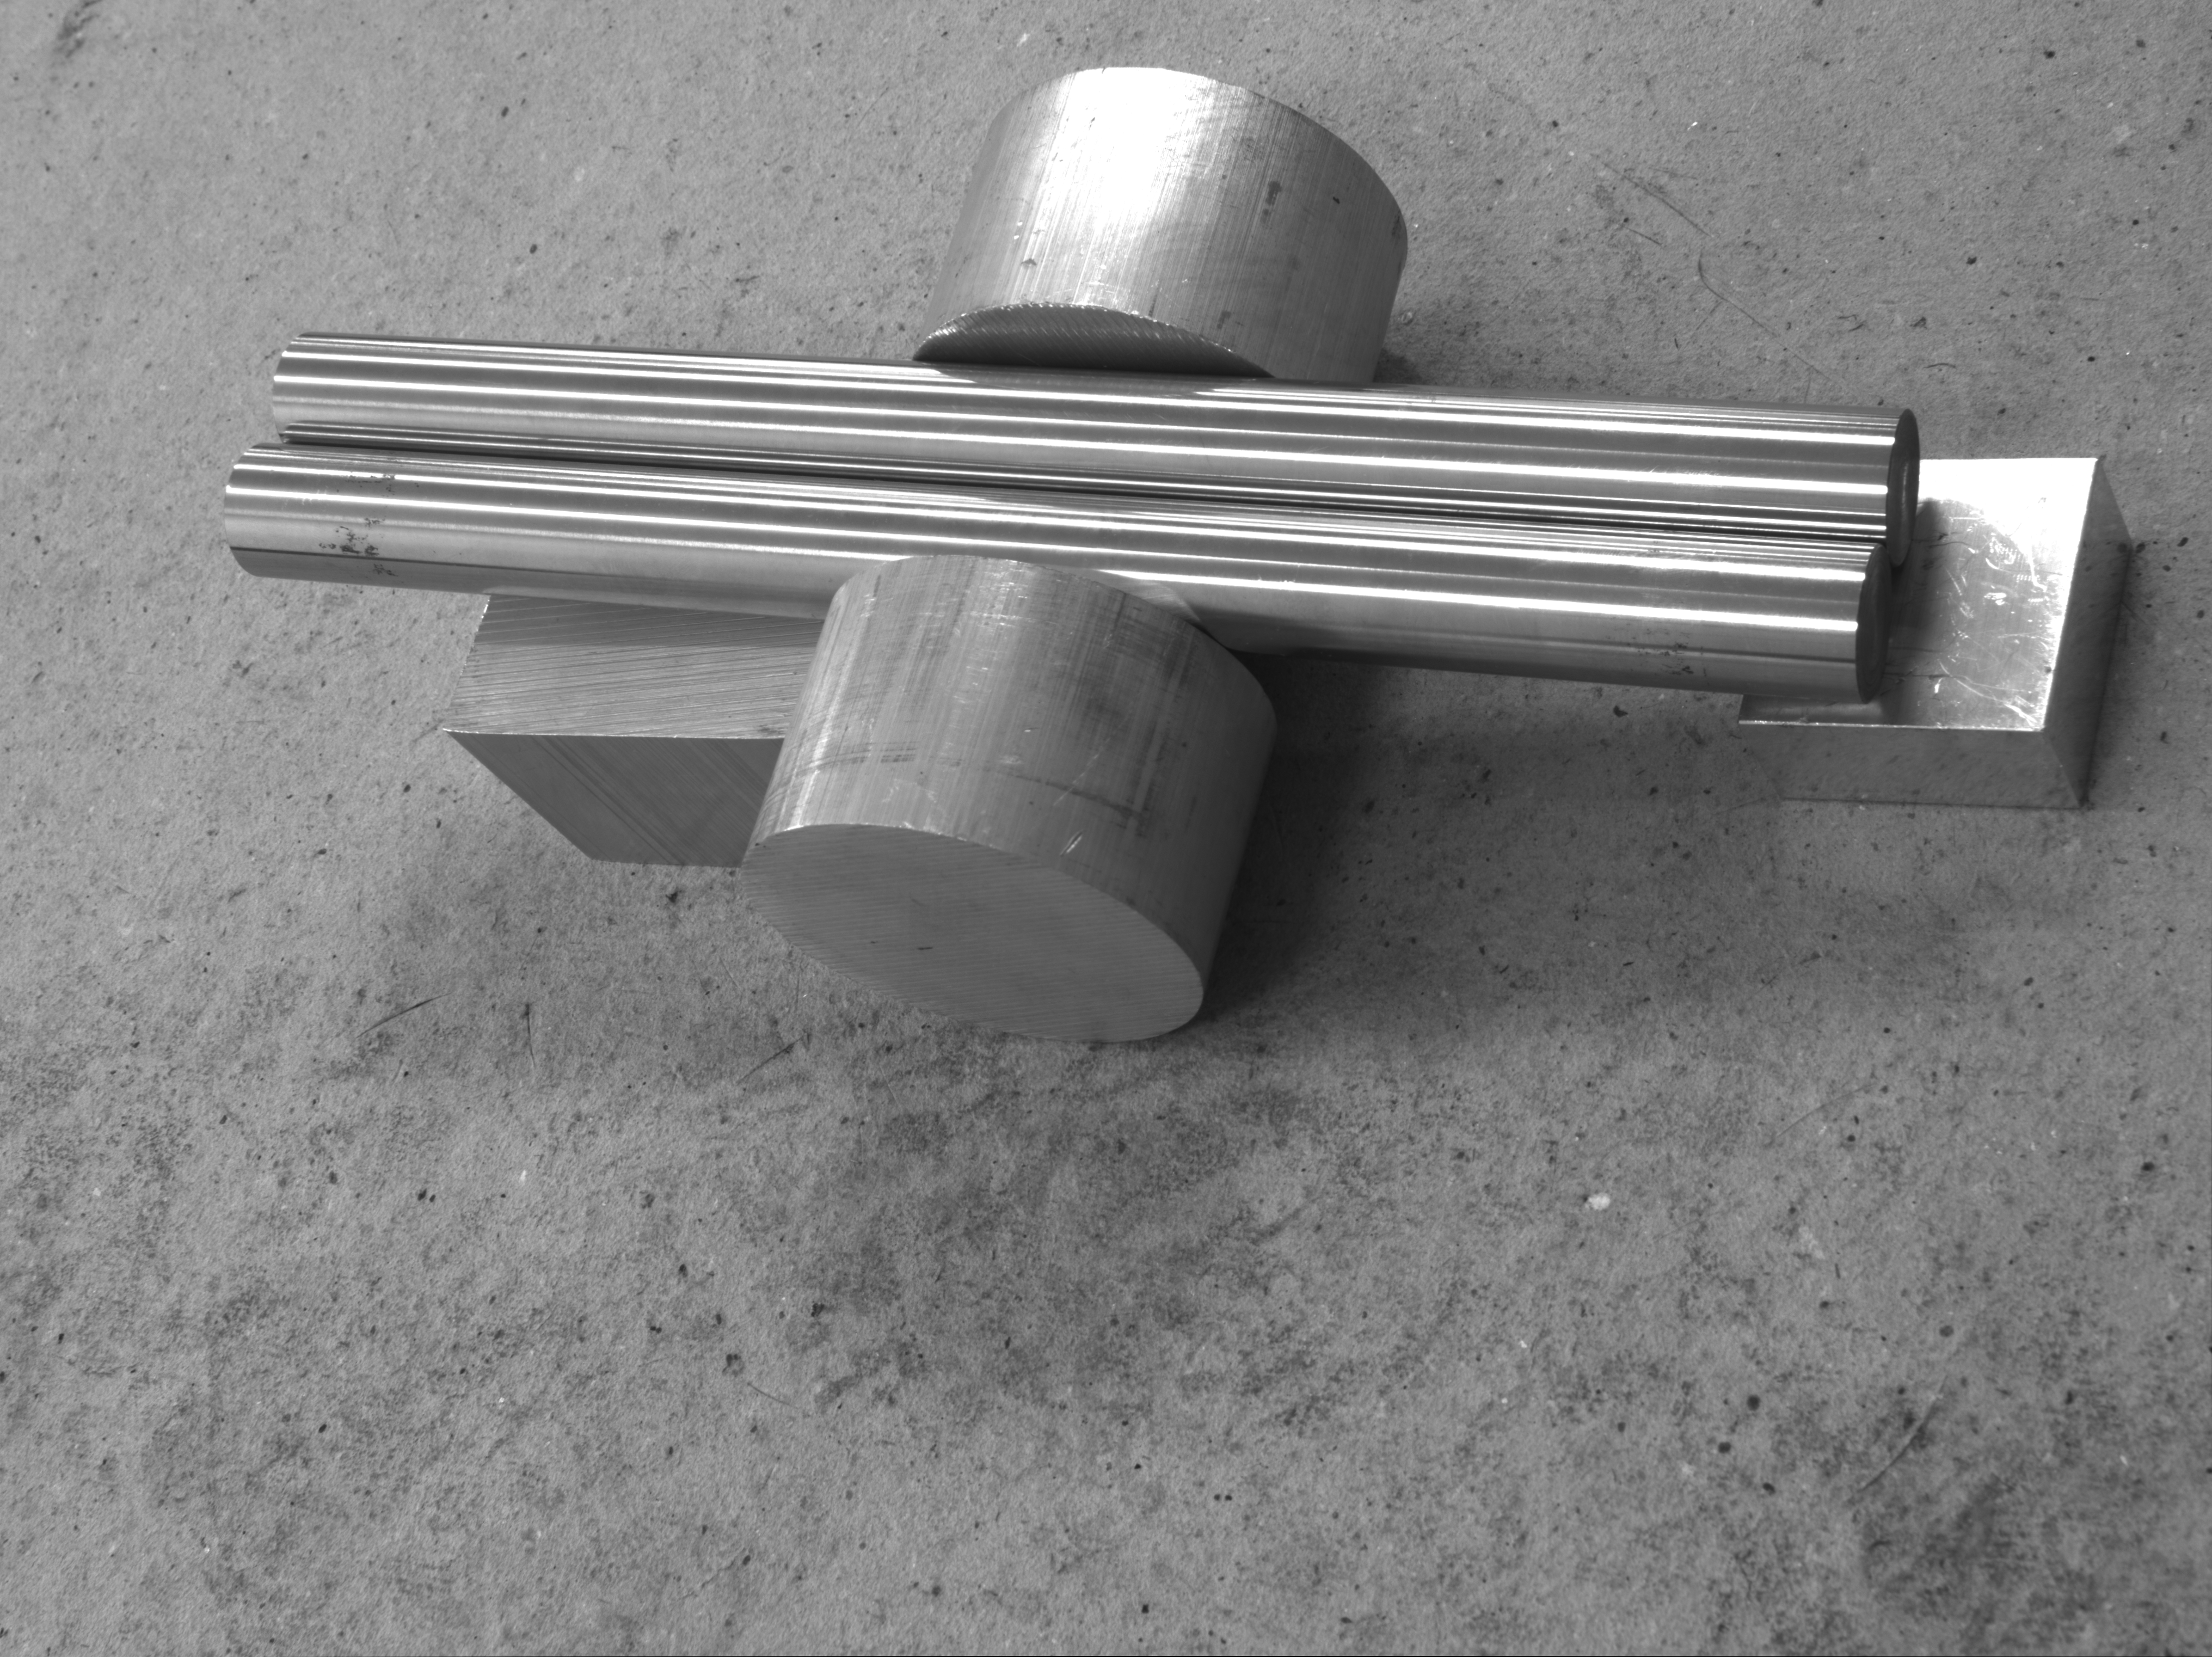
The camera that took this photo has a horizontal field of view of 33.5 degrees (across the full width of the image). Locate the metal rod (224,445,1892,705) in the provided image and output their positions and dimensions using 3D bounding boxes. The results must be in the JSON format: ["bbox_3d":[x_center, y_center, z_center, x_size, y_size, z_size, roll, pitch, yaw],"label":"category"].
[{"bbox_3d":[-0.019,-0.045,0.626,0.299,0.025,0.025,6,64,22],"label":"metal rod"}]

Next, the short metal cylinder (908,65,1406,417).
[{"bbox_3d":[0.010,-0.092,0.662,0.080,0.080,0.050,1,62,29],"label":"short metal cylinder"}]

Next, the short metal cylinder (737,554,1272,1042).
[{"bbox_3d":[-0.017,-0.004,0.622,0.080,0.080,0.050,1,62,29],"label":"short metal cylinder"}]

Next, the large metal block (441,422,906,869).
[{"bbox_3d":[-0.067,-0.039,0.690,0.080,0.050,0.080,2,62,29],"label":"large metal block"}]

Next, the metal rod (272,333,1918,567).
[{"bbox_3d":[-0.012,-0.067,0.636,0.299,0.025,0.025,6,64,22],"label":"metal rod"}]

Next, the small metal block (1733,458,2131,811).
[{"bbox_3d":[0.134,-0.032,0.593,0.050,0.025,0.050,3,63,30],"label":"small metal block"}]
